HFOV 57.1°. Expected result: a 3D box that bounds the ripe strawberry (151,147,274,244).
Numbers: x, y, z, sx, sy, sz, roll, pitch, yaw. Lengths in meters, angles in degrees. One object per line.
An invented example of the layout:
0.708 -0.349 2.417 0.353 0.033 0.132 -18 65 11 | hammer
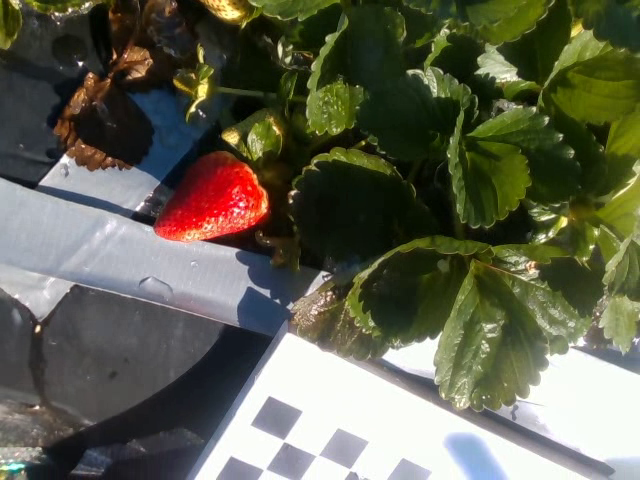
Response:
-0.064 -0.014 0.334 0.057 0.062 0.065 -4 31 47 | ripe strawberry
